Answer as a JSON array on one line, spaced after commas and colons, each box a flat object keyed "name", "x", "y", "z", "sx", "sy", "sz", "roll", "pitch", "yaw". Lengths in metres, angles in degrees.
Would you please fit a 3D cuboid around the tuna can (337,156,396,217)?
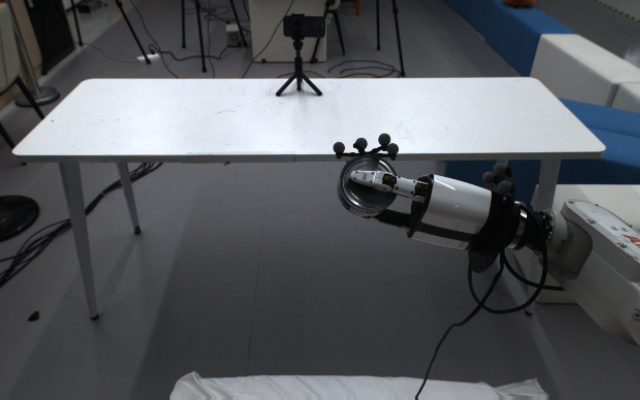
[{"name": "tuna can", "x": 0.069, "y": -0.021, "z": 0.693, "sx": 0.085, "sy": 0.034, "sz": 0.085, "roll": 1, "pitch": 70, "yaw": -4}]
